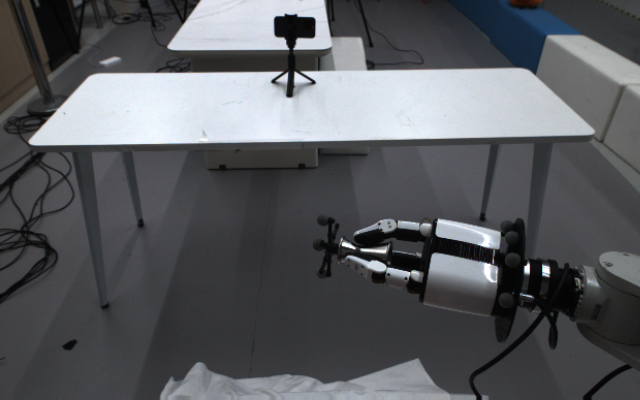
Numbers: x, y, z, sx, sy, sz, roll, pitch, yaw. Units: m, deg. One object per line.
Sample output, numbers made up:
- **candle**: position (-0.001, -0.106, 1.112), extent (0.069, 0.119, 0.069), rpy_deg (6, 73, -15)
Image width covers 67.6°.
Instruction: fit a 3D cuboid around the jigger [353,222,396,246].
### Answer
- **jigger**: position (0.069, 0.070, 0.662), extent (0.071, 0.043, 0.043), rpy_deg (7, 35, 16)
